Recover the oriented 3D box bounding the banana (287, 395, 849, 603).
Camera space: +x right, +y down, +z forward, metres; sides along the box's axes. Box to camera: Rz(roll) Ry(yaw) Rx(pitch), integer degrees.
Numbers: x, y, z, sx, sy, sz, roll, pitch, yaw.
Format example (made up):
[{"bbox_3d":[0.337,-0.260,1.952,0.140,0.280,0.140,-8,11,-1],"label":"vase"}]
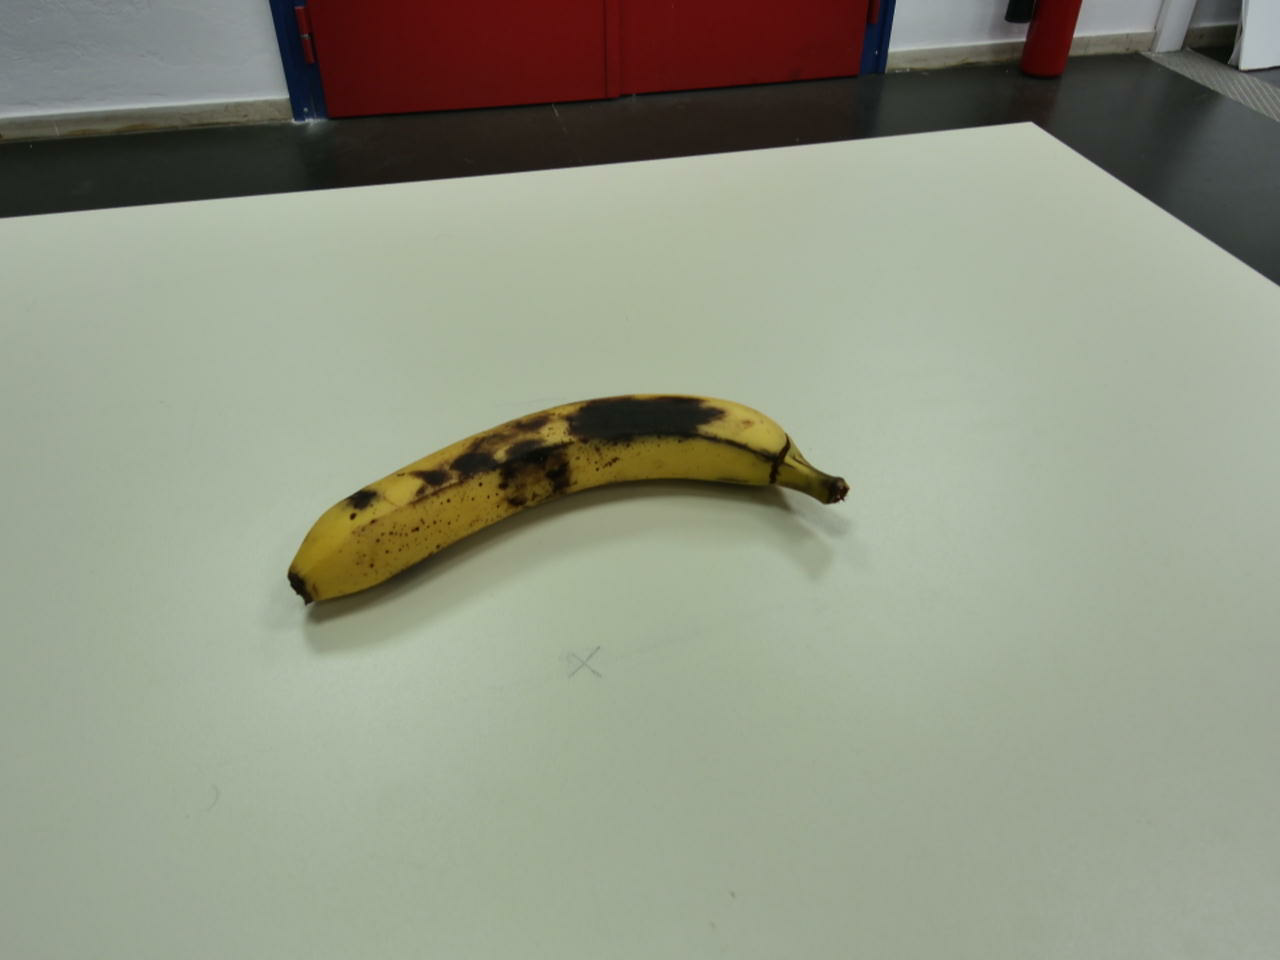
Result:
[{"bbox_3d":[-0.031,-0.001,0.416,0.222,0.037,0.084,-8,39,-11],"label":"banana"}]
